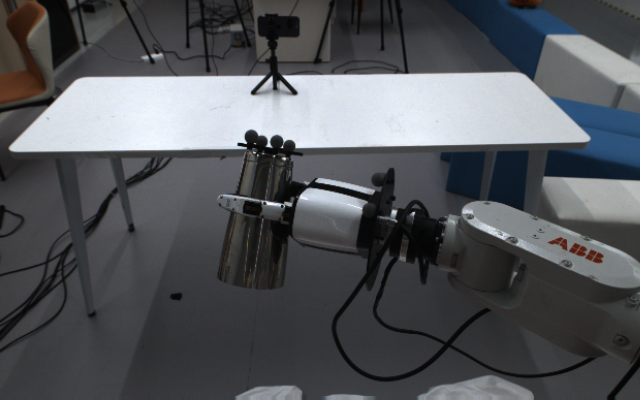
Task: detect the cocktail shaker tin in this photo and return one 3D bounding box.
[{"bbox_3d":[-0.080,0.025,0.649,0.093,0.170,0.093,9,3,0],"label":"cocktail shaker tin"}]
